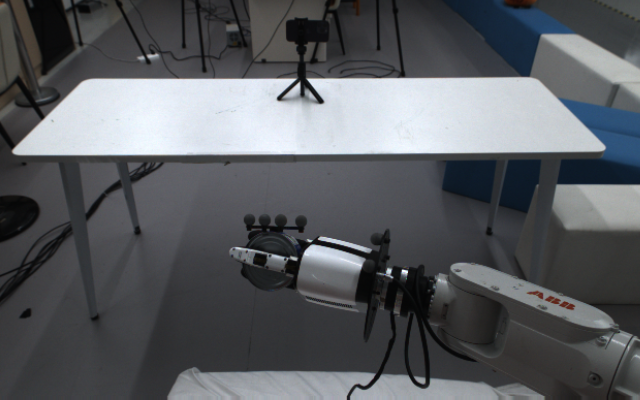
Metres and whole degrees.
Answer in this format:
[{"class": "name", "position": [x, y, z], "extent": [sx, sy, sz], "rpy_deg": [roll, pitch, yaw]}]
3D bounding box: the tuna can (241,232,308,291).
[{"class": "tuna can", "position": [-0.066, 0.089, 0.706], "extent": [0.085, 0.085, 0.034], "rpy_deg": [12, -1, 14]}]
